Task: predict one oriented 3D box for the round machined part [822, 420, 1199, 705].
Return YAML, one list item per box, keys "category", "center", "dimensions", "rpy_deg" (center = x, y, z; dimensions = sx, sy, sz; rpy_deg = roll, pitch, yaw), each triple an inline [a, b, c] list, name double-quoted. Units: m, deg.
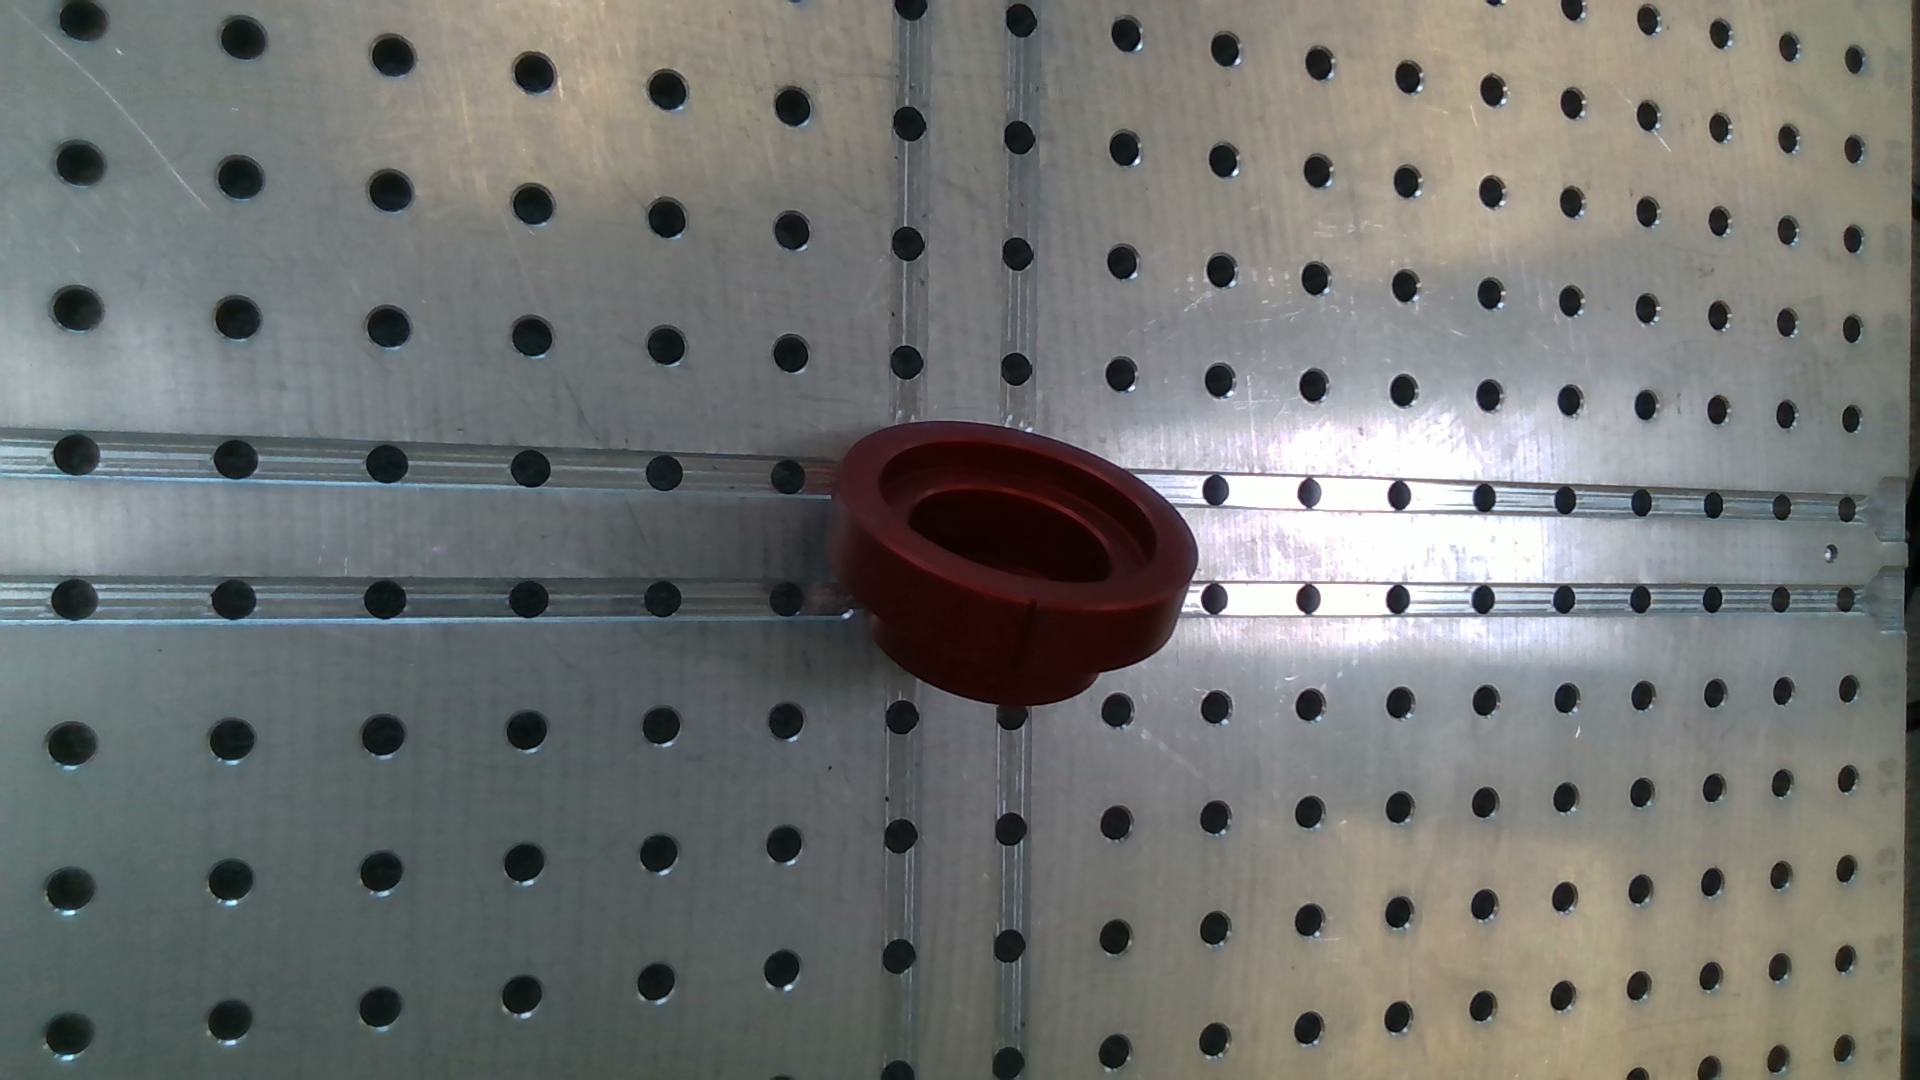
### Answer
- category: "round machined part"
  center: [0.011, 0.008, 0.372]
  dimensions: [0.098, 0.098, 0.042]
  rpy_deg: [3, 120, -20]
